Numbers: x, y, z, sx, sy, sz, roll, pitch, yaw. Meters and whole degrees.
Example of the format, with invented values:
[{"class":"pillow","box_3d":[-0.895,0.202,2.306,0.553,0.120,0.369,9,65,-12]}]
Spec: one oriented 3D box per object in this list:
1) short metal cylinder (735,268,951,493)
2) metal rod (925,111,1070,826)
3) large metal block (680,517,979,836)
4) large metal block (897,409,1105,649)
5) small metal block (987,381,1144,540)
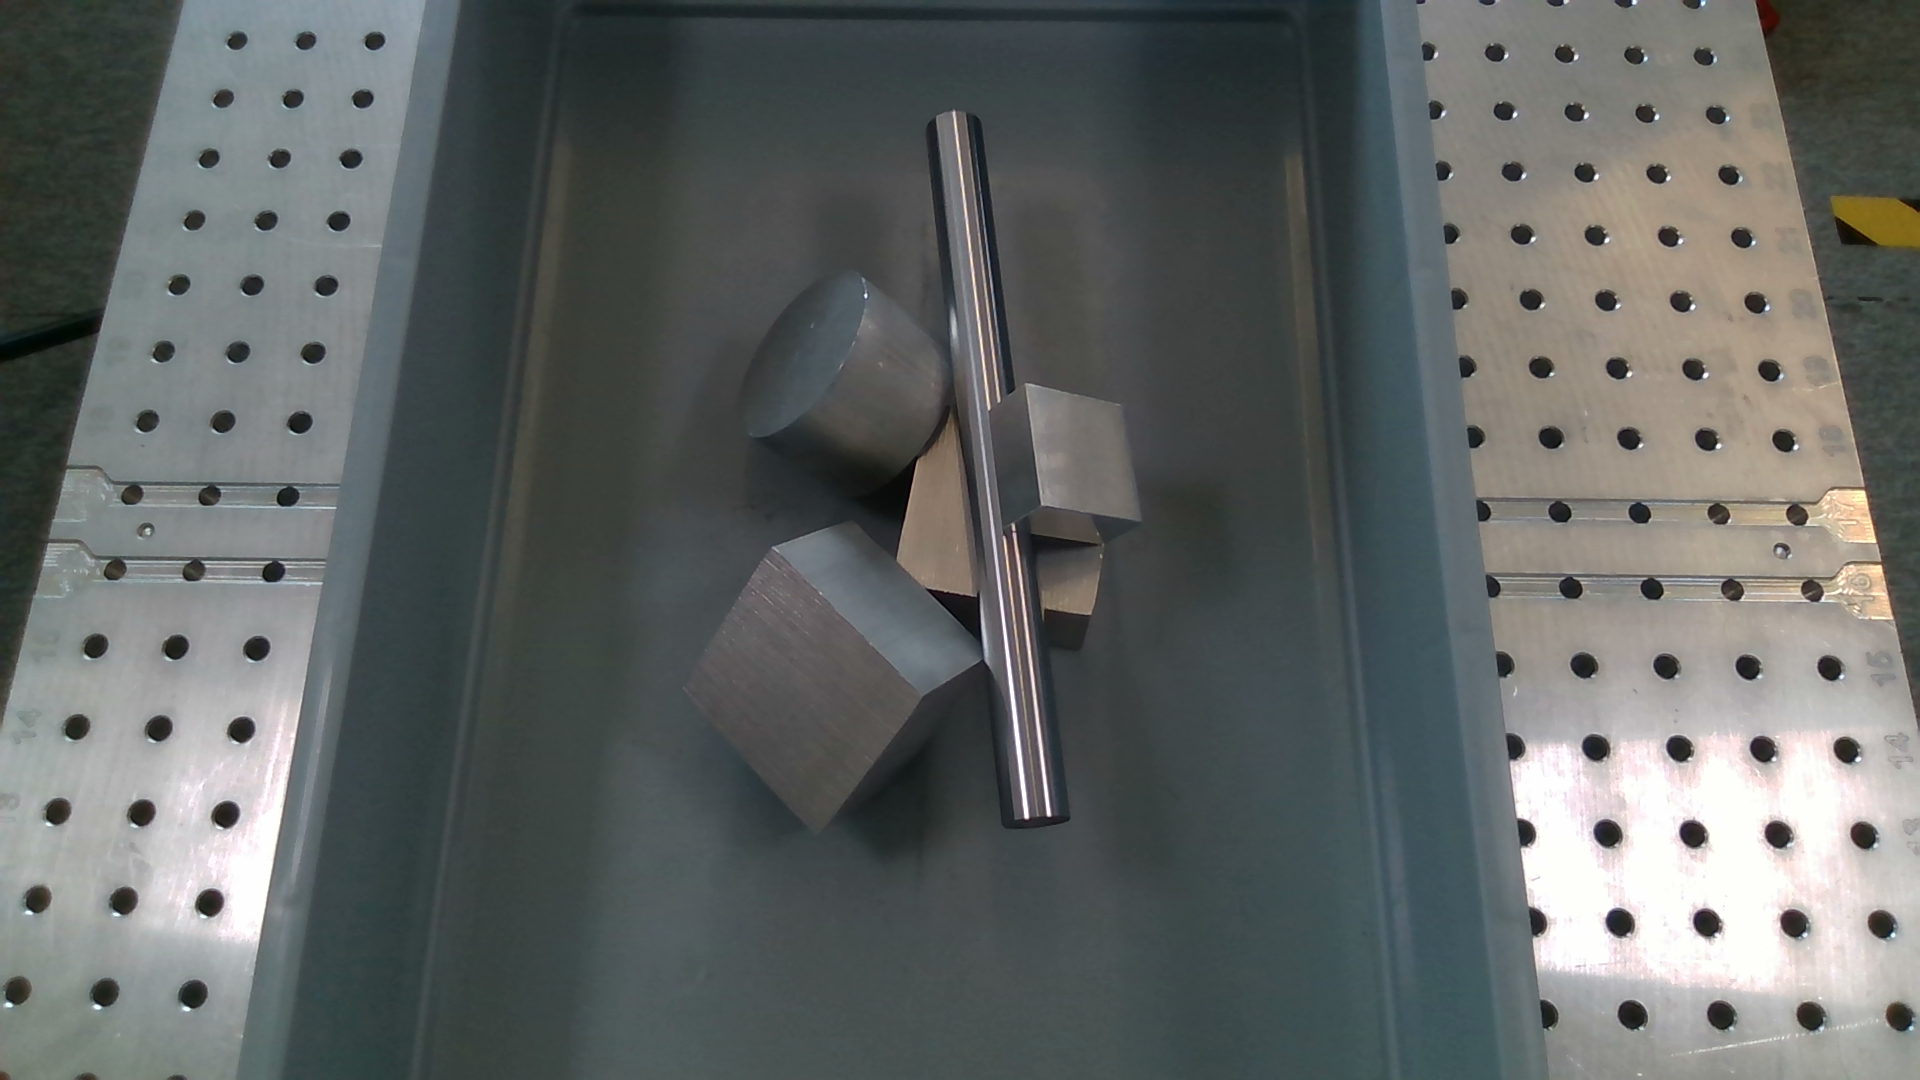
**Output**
[{"class":"short metal cylinder","box_3d":[-0.049,-0.066,0.575,0.050,0.080,0.080,33,67,-34]},{"class":"metal rod","box_3d":[0.012,-0.038,0.548,0.025,0.025,0.299,-5,70,-2]},{"class":"large metal block","box_3d":[-0.049,0.052,0.533,0.080,0.050,0.080,43,120,14]},{"class":"large metal block","box_3d":[0.020,-0.006,0.576,0.080,0.050,0.080,10,71,4]},{"class":"small metal block","box_3d":[0.041,-0.029,0.532,0.050,0.025,0.050,8,66,-35]}]
